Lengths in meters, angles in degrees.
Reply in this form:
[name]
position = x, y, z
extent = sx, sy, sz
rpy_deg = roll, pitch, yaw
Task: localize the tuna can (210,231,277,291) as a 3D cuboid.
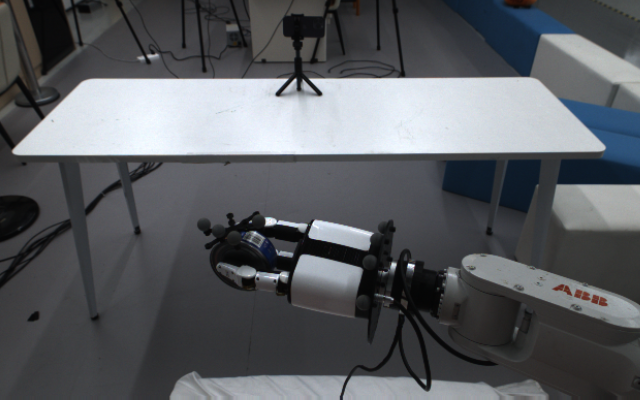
[tuna can]
position = -0.099, 0.084, 0.646
extent = 0.085, 0.085, 0.034
rpy_deg = 10, 33, 11
